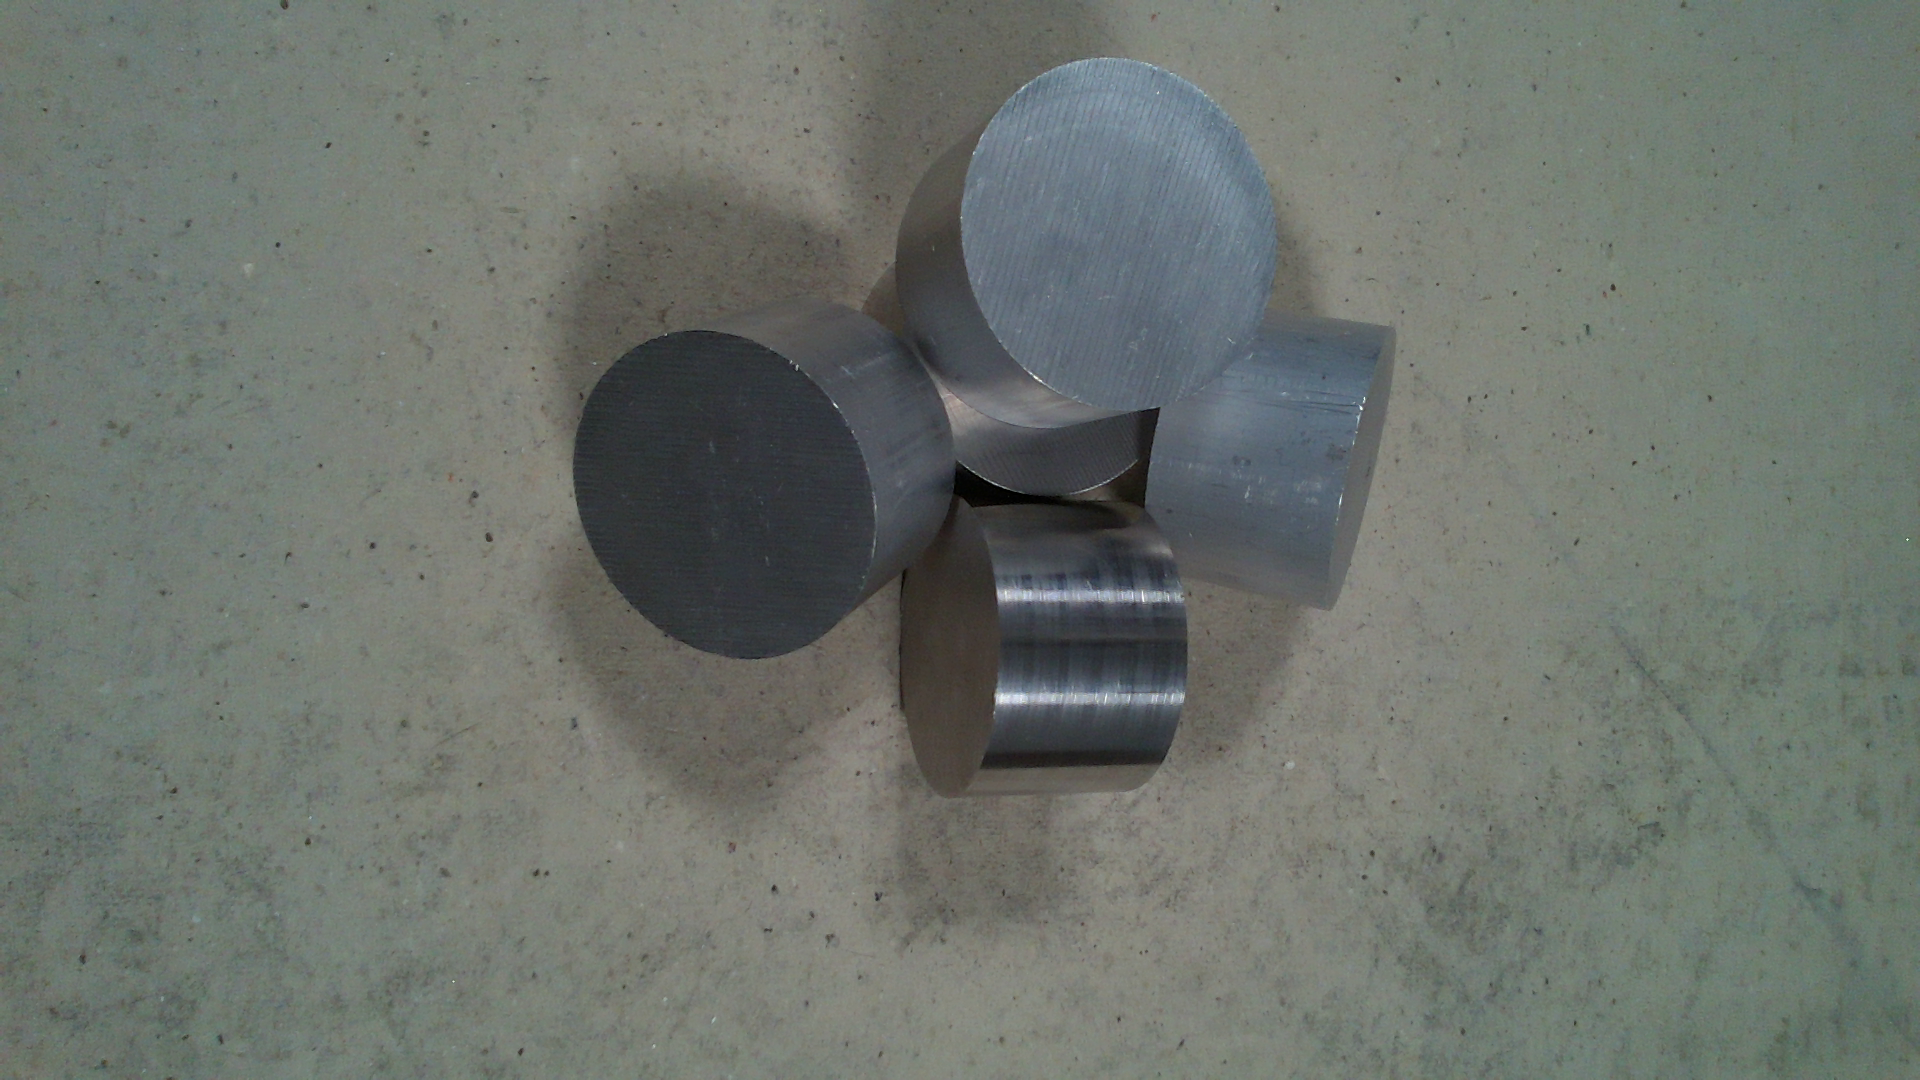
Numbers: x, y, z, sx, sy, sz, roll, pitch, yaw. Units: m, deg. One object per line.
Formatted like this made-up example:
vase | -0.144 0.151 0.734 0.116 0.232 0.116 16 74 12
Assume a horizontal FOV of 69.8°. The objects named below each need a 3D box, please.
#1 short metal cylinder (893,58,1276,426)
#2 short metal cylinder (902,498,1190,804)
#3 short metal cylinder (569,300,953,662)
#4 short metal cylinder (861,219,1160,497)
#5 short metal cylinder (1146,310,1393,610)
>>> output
short metal cylinder | 0.029 -0.070 0.337 0.080 0.050 0.080 0 90 -20
short metal cylinder | 0.020 0.030 0.371 0.050 0.080 0.080 2 90 -20
short metal cylinder | -0.048 -0.016 0.342 0.080 0.050 0.080 7 110 19
short metal cylinder | 0.015 -0.052 0.386 0.080 0.050 0.080 0 90 -20
short metal cylinder | 0.089 -0.025 0.390 0.050 0.080 0.080 12 85 20
